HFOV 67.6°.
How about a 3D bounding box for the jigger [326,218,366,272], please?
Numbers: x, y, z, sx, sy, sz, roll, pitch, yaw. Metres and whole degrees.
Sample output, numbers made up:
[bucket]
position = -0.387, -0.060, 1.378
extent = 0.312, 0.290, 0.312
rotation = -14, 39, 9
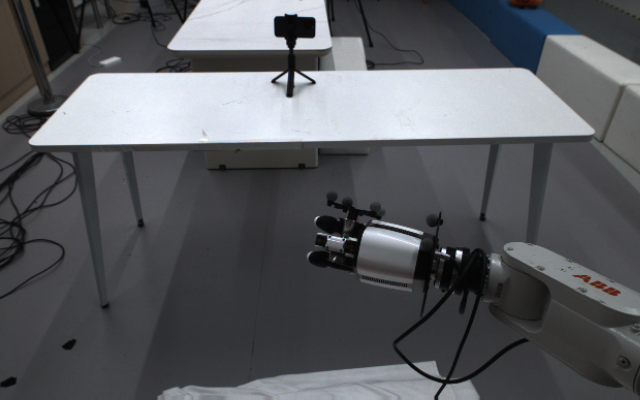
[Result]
[jigger]
position = 0.042, 0.065, 0.739
extent = 0.043, 0.071, 0.043
rotation = 15, -7, 2
